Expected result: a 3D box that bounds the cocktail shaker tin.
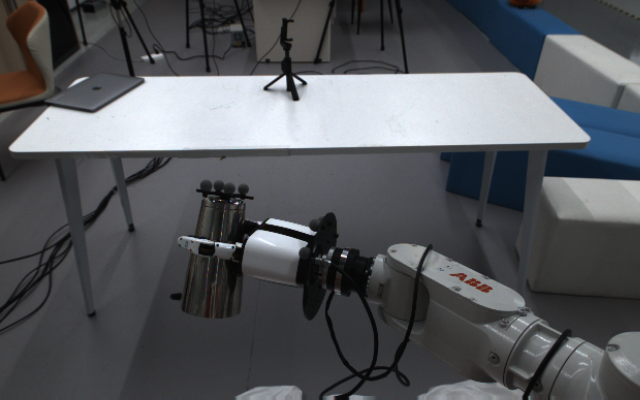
[{"bbox_3d":[-0.156,0.084,0.739,0.093,0.170,0.093,8,3,0],"label":"cocktail shaker tin"}]
